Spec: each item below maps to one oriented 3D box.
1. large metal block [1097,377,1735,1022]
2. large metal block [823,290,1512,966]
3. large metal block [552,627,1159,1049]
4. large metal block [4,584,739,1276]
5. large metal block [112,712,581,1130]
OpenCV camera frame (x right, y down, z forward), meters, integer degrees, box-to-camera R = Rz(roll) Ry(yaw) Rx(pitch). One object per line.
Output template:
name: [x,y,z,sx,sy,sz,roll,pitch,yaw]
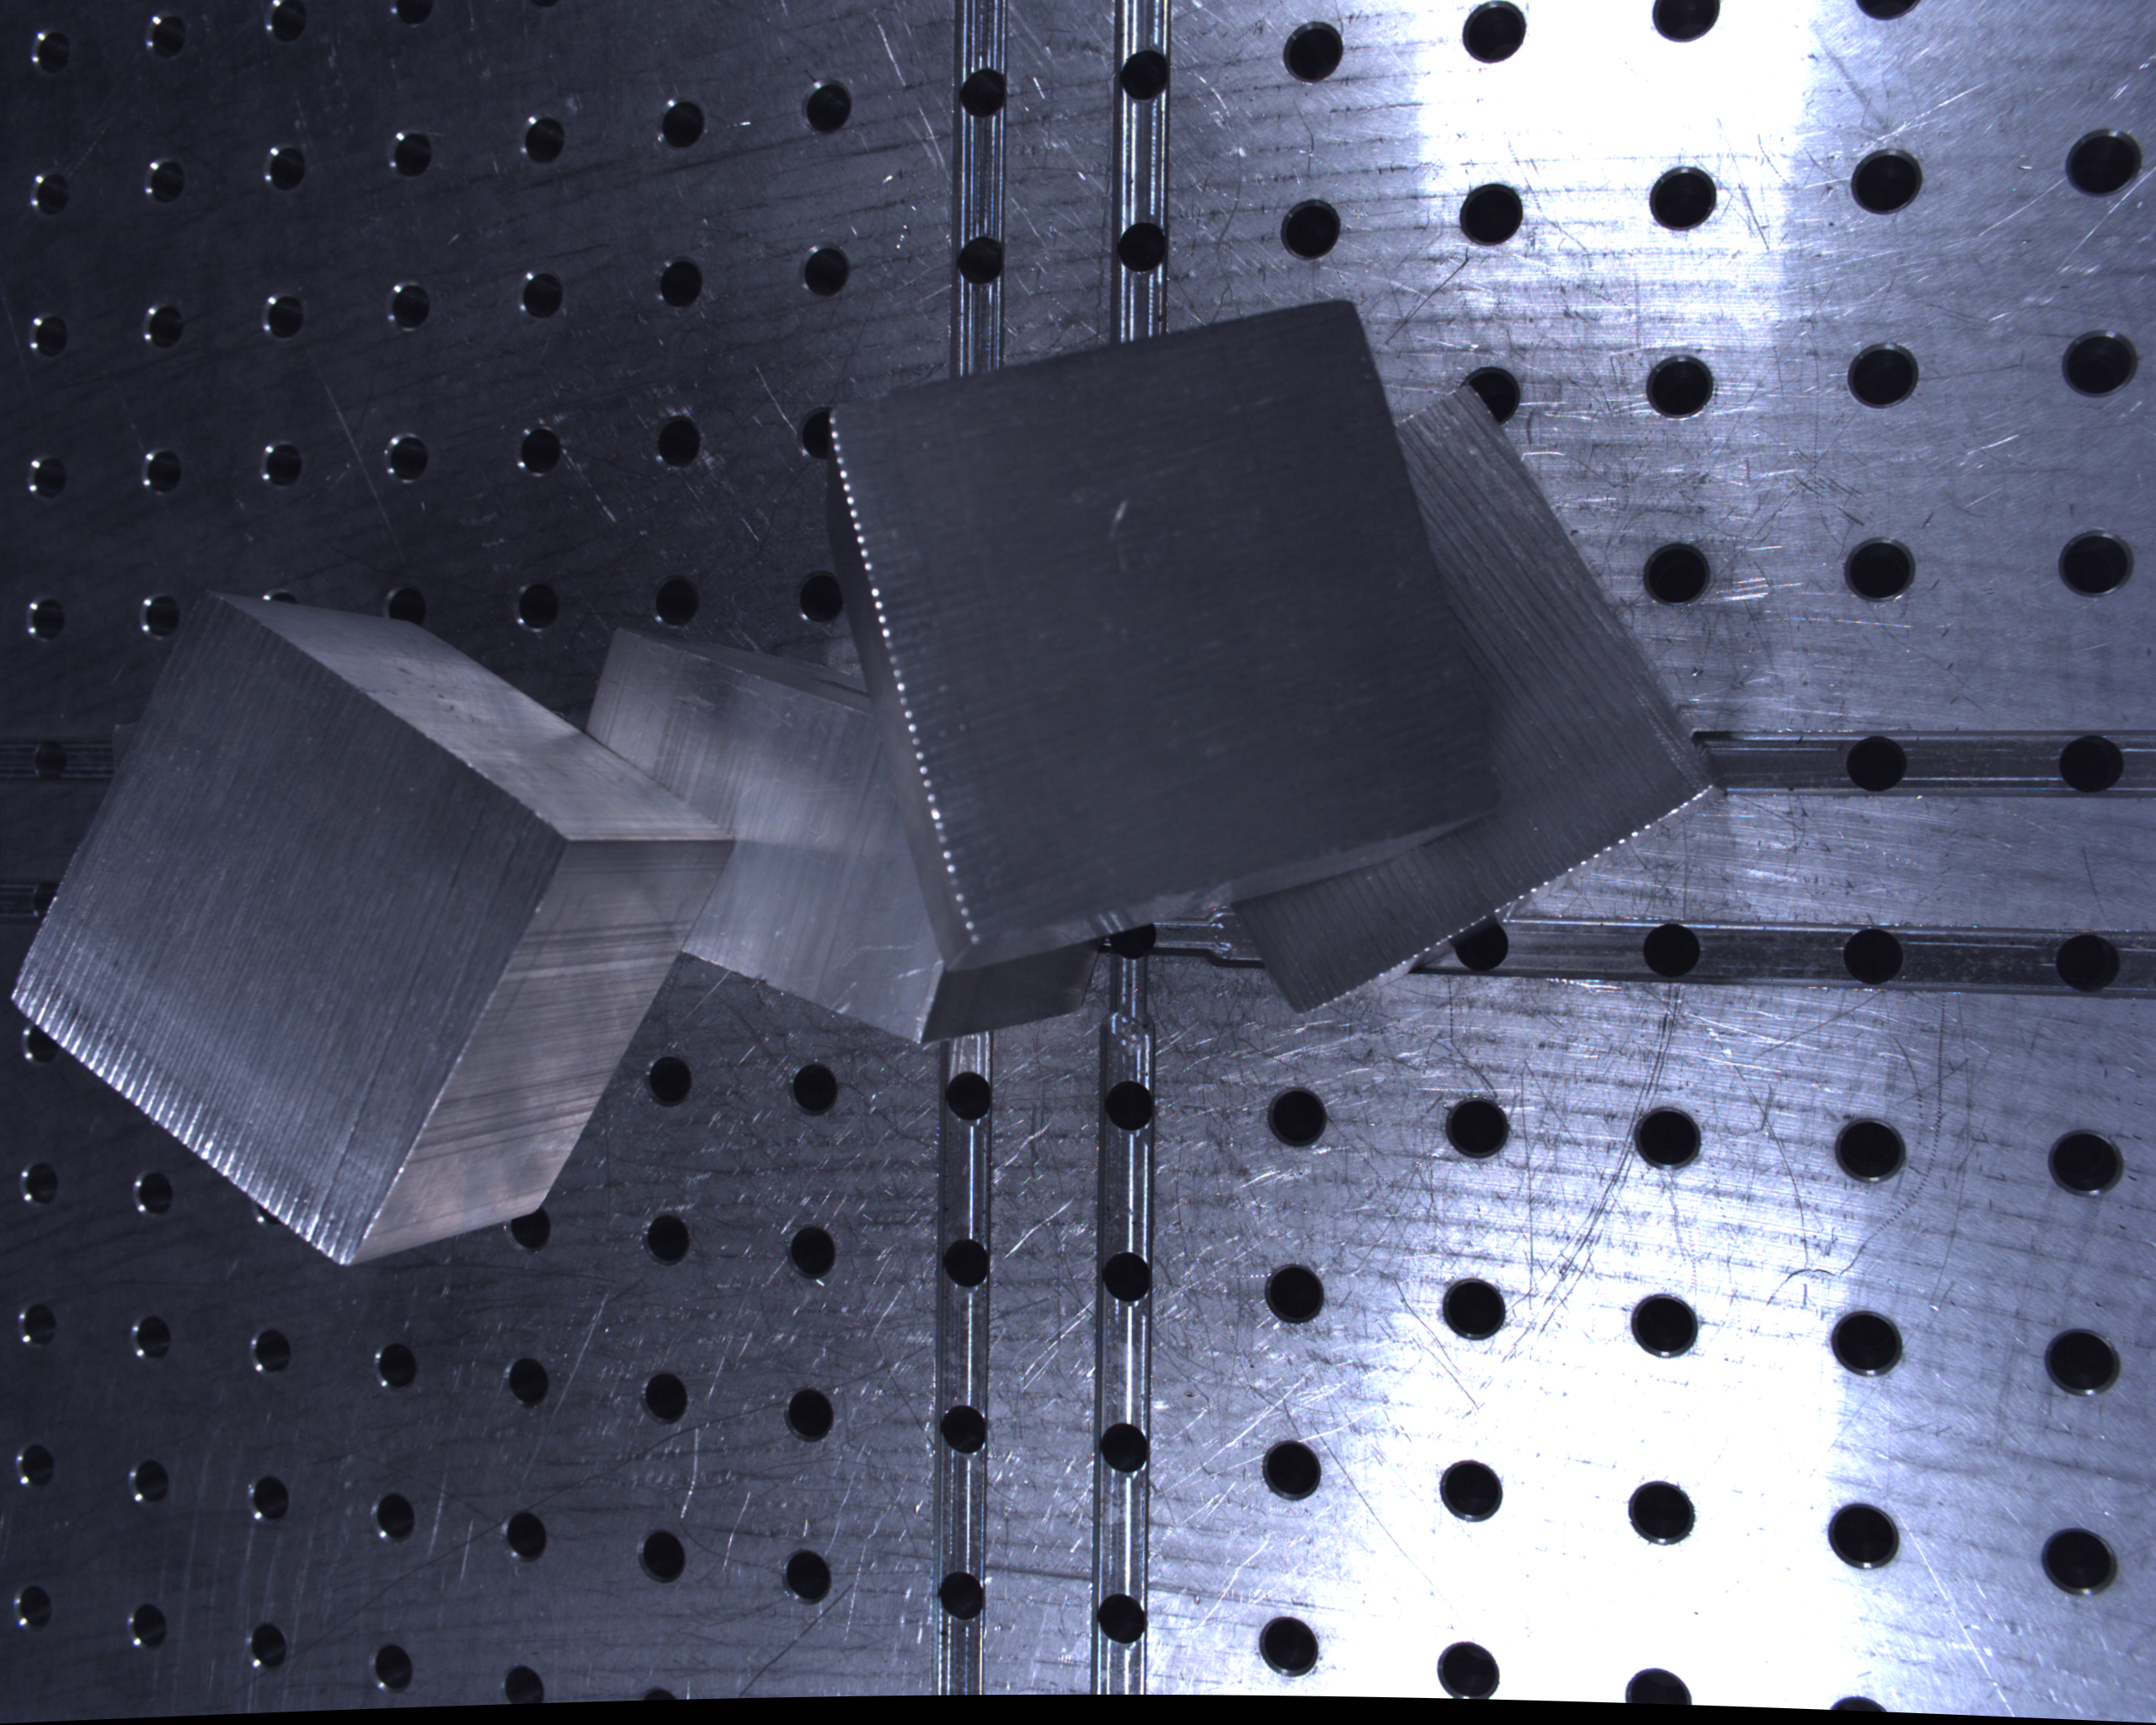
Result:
large metal block: [0.060,-0.027,0.377,0.080,0.050,0.080,-32,80,17]
large metal block: [0.010,-0.034,0.322,0.081,0.050,0.080,-14,85,-10]
large metal block: [-0.040,-0.005,0.396,0.080,0.080,0.050,20,97,18]
large metal block: [-0.119,0.010,0.354,0.080,0.050,0.080,33,100,17]
large metal block: [-0.146,0.009,0.433,0.050,0.080,0.080,-7,88,19]
